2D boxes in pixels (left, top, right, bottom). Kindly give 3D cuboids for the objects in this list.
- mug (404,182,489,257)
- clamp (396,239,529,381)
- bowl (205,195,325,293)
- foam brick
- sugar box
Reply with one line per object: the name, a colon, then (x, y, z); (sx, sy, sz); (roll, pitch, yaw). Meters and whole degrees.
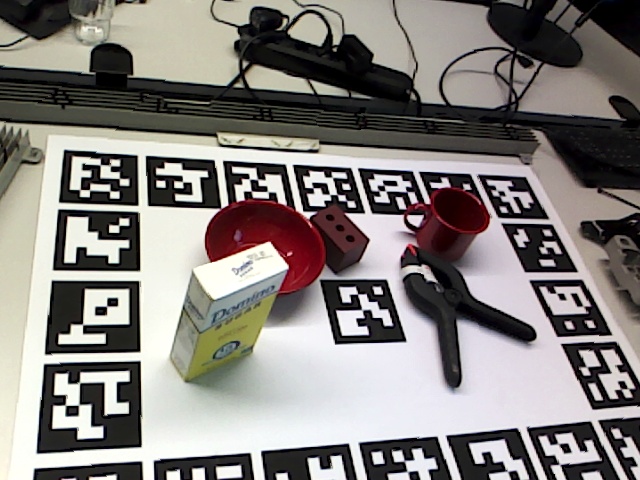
mug: (0.185, -0.032, 0.943); (0.117, 0.081, 0.093); (23, 47, -5)
clamp: (0.175, 0.080, 0.870); (0.164, 0.036, 0.204); (-22, 62, -31)
bowl: (-0.078, 0.017, 0.829); (0.161, 0.055, 0.162); (10, 48, -12)
foam brick: (0.024, 0.001, 0.889); (0.052, 0.051, 0.078); (-26, 64, -34)
sugar box: (-0.104, 0.083, 0.682); (0.092, 0.176, 0.045); (-23, 64, -35)
